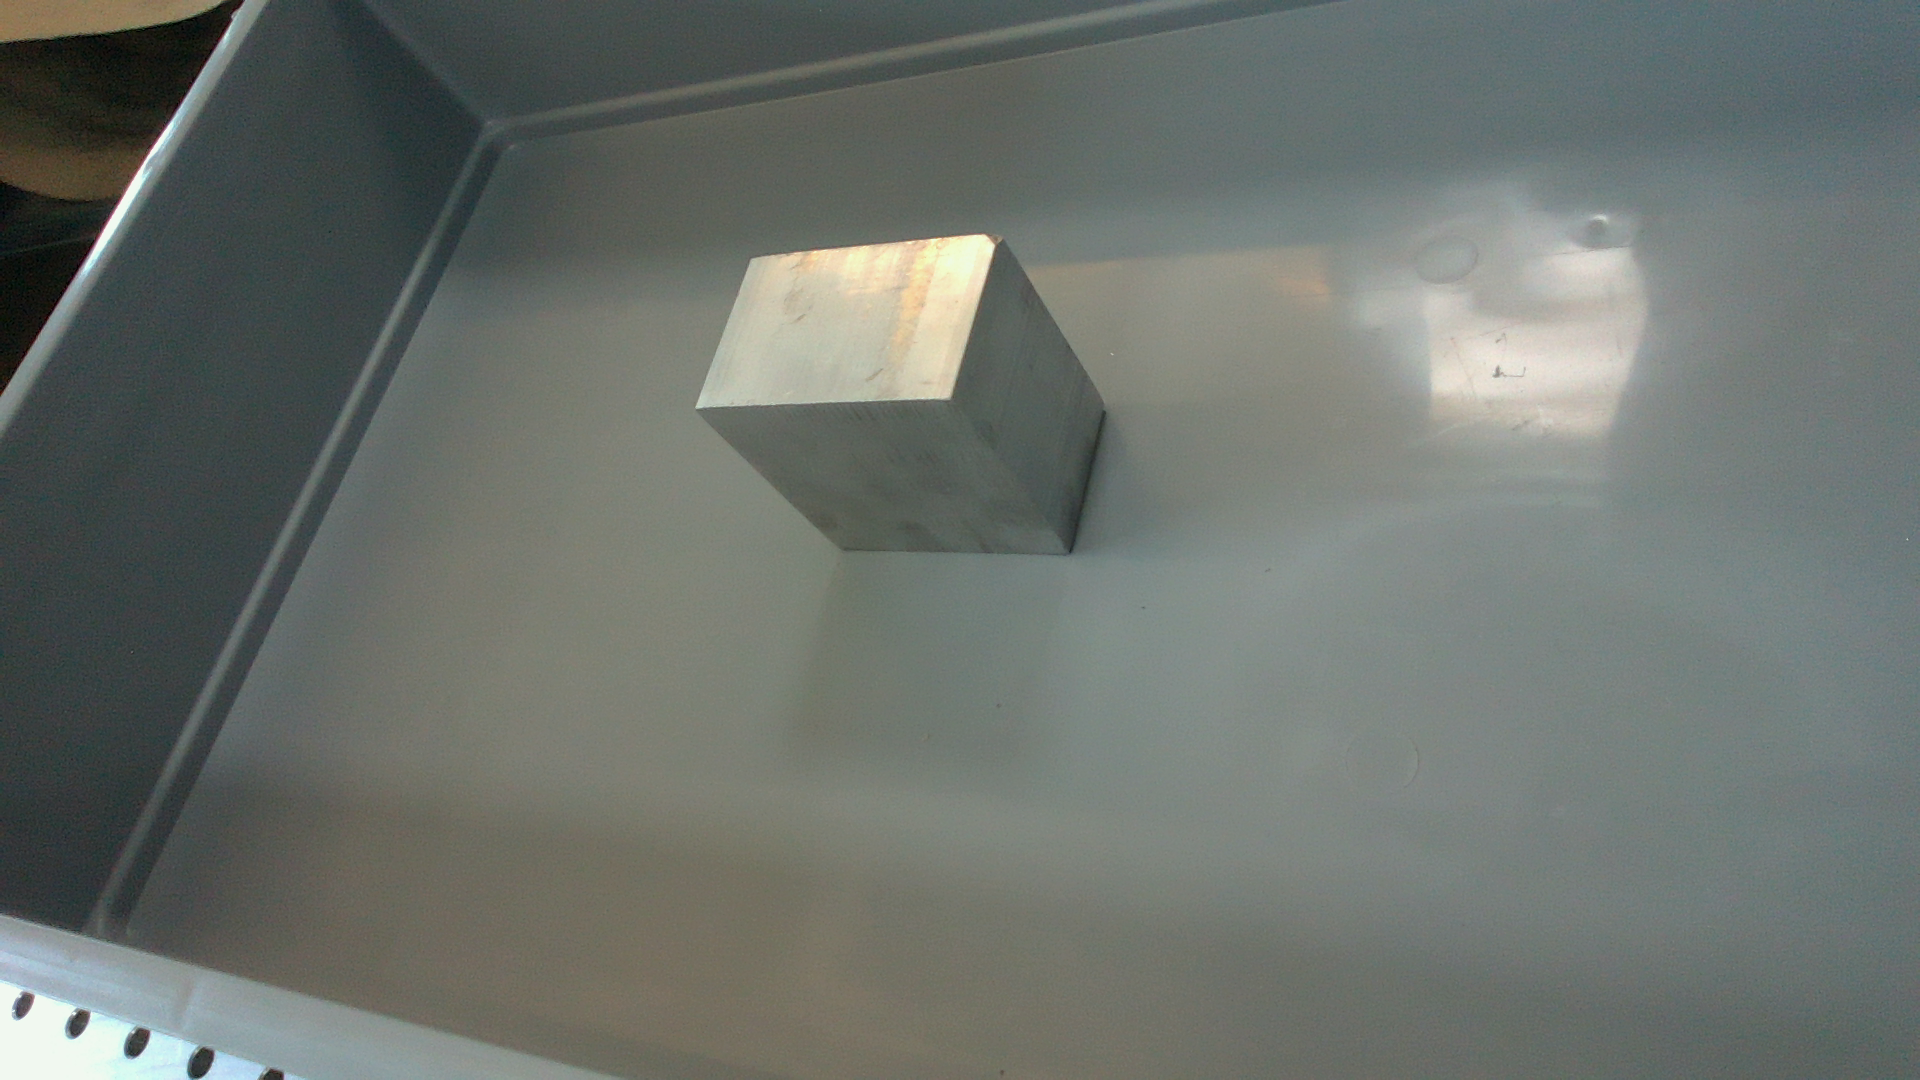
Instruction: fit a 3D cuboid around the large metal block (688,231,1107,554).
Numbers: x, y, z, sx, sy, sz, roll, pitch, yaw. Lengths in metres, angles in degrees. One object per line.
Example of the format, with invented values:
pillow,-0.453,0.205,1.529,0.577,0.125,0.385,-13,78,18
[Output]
large metal block,-0.014,-0.038,0.387,0.080,0.080,0.050,1,62,29
